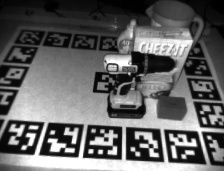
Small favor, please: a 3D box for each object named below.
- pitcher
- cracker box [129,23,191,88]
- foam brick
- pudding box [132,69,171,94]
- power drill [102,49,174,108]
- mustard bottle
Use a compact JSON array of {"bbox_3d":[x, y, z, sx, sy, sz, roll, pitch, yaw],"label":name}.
[{"bbox_3d":[0.185,-0.165,0.744,0.188,0.244,0.133,6,50,4],"label":"pitcher"},{"bbox_3d":[0.135,-0.086,0.680,0.164,0.215,0.071,-1,48,-1],"label":"cracker box"},{"bbox_3d":[0.179,0.058,0.676,0.078,0.051,0.052,4,52,-1],"label":"foam brick"},{"bbox_3d":[0.125,-0.014,0.690,0.114,0.090,0.038,1,48,1],"label":"pudding box"},{"bbox_3d":[0.064,-0.015,0.595,0.185,0.188,0.057,1,46,-3],"label":"power drill"},{"bbox_3d":[0.052,-0.163,0.747,0.096,0.192,0.058,12,51,7],"label":"mustard bottle"}]
